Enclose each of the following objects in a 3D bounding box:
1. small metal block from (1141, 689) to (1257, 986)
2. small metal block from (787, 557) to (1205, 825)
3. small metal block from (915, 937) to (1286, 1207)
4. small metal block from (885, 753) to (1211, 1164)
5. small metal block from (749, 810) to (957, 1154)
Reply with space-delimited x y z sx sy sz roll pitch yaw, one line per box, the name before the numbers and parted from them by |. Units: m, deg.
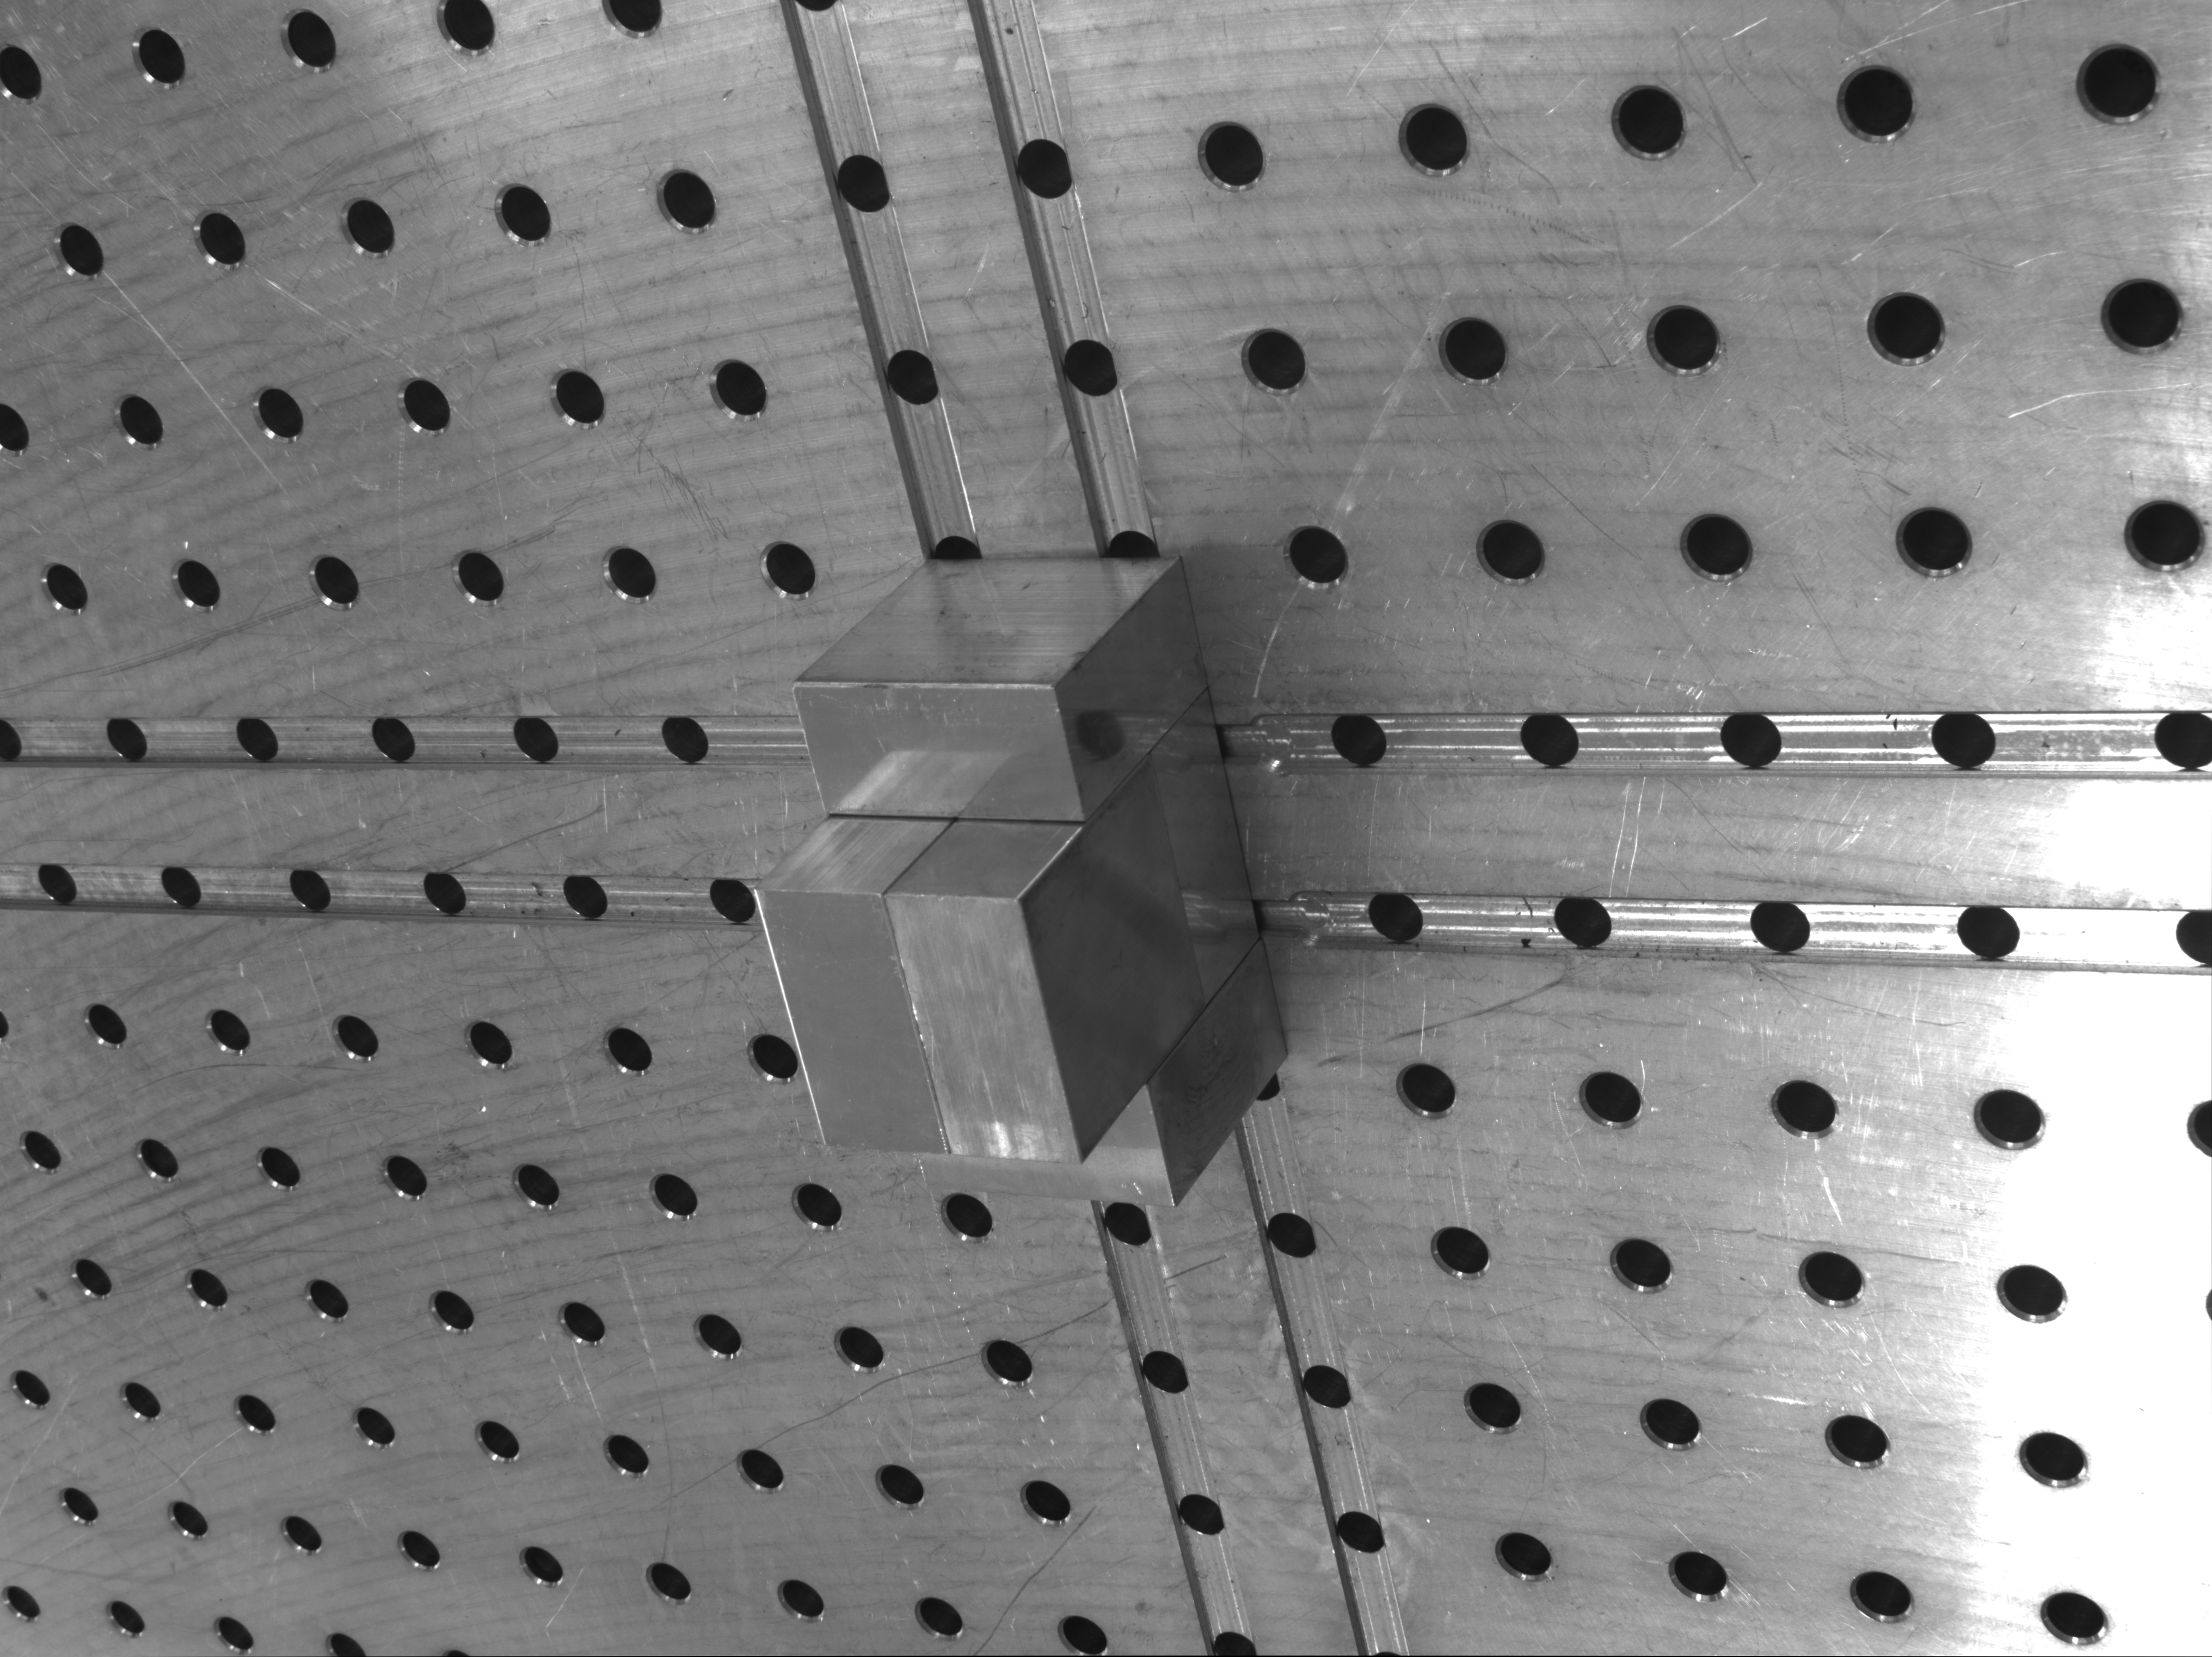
small metal block | -0.005 0.003 0.650 0.050 0.025 0.050 2 119 29
small metal block | -0.018 -0.024 0.624 0.050 0.050 0.025 2 119 28
small metal block | -0.002 0.042 0.657 0.050 0.050 0.025 2 119 28
small metal block | -0.009 0.021 0.615 0.025 0.050 0.050 2 119 29
small metal block | -0.032 0.020 0.627 0.025 0.050 0.050 2 119 27
